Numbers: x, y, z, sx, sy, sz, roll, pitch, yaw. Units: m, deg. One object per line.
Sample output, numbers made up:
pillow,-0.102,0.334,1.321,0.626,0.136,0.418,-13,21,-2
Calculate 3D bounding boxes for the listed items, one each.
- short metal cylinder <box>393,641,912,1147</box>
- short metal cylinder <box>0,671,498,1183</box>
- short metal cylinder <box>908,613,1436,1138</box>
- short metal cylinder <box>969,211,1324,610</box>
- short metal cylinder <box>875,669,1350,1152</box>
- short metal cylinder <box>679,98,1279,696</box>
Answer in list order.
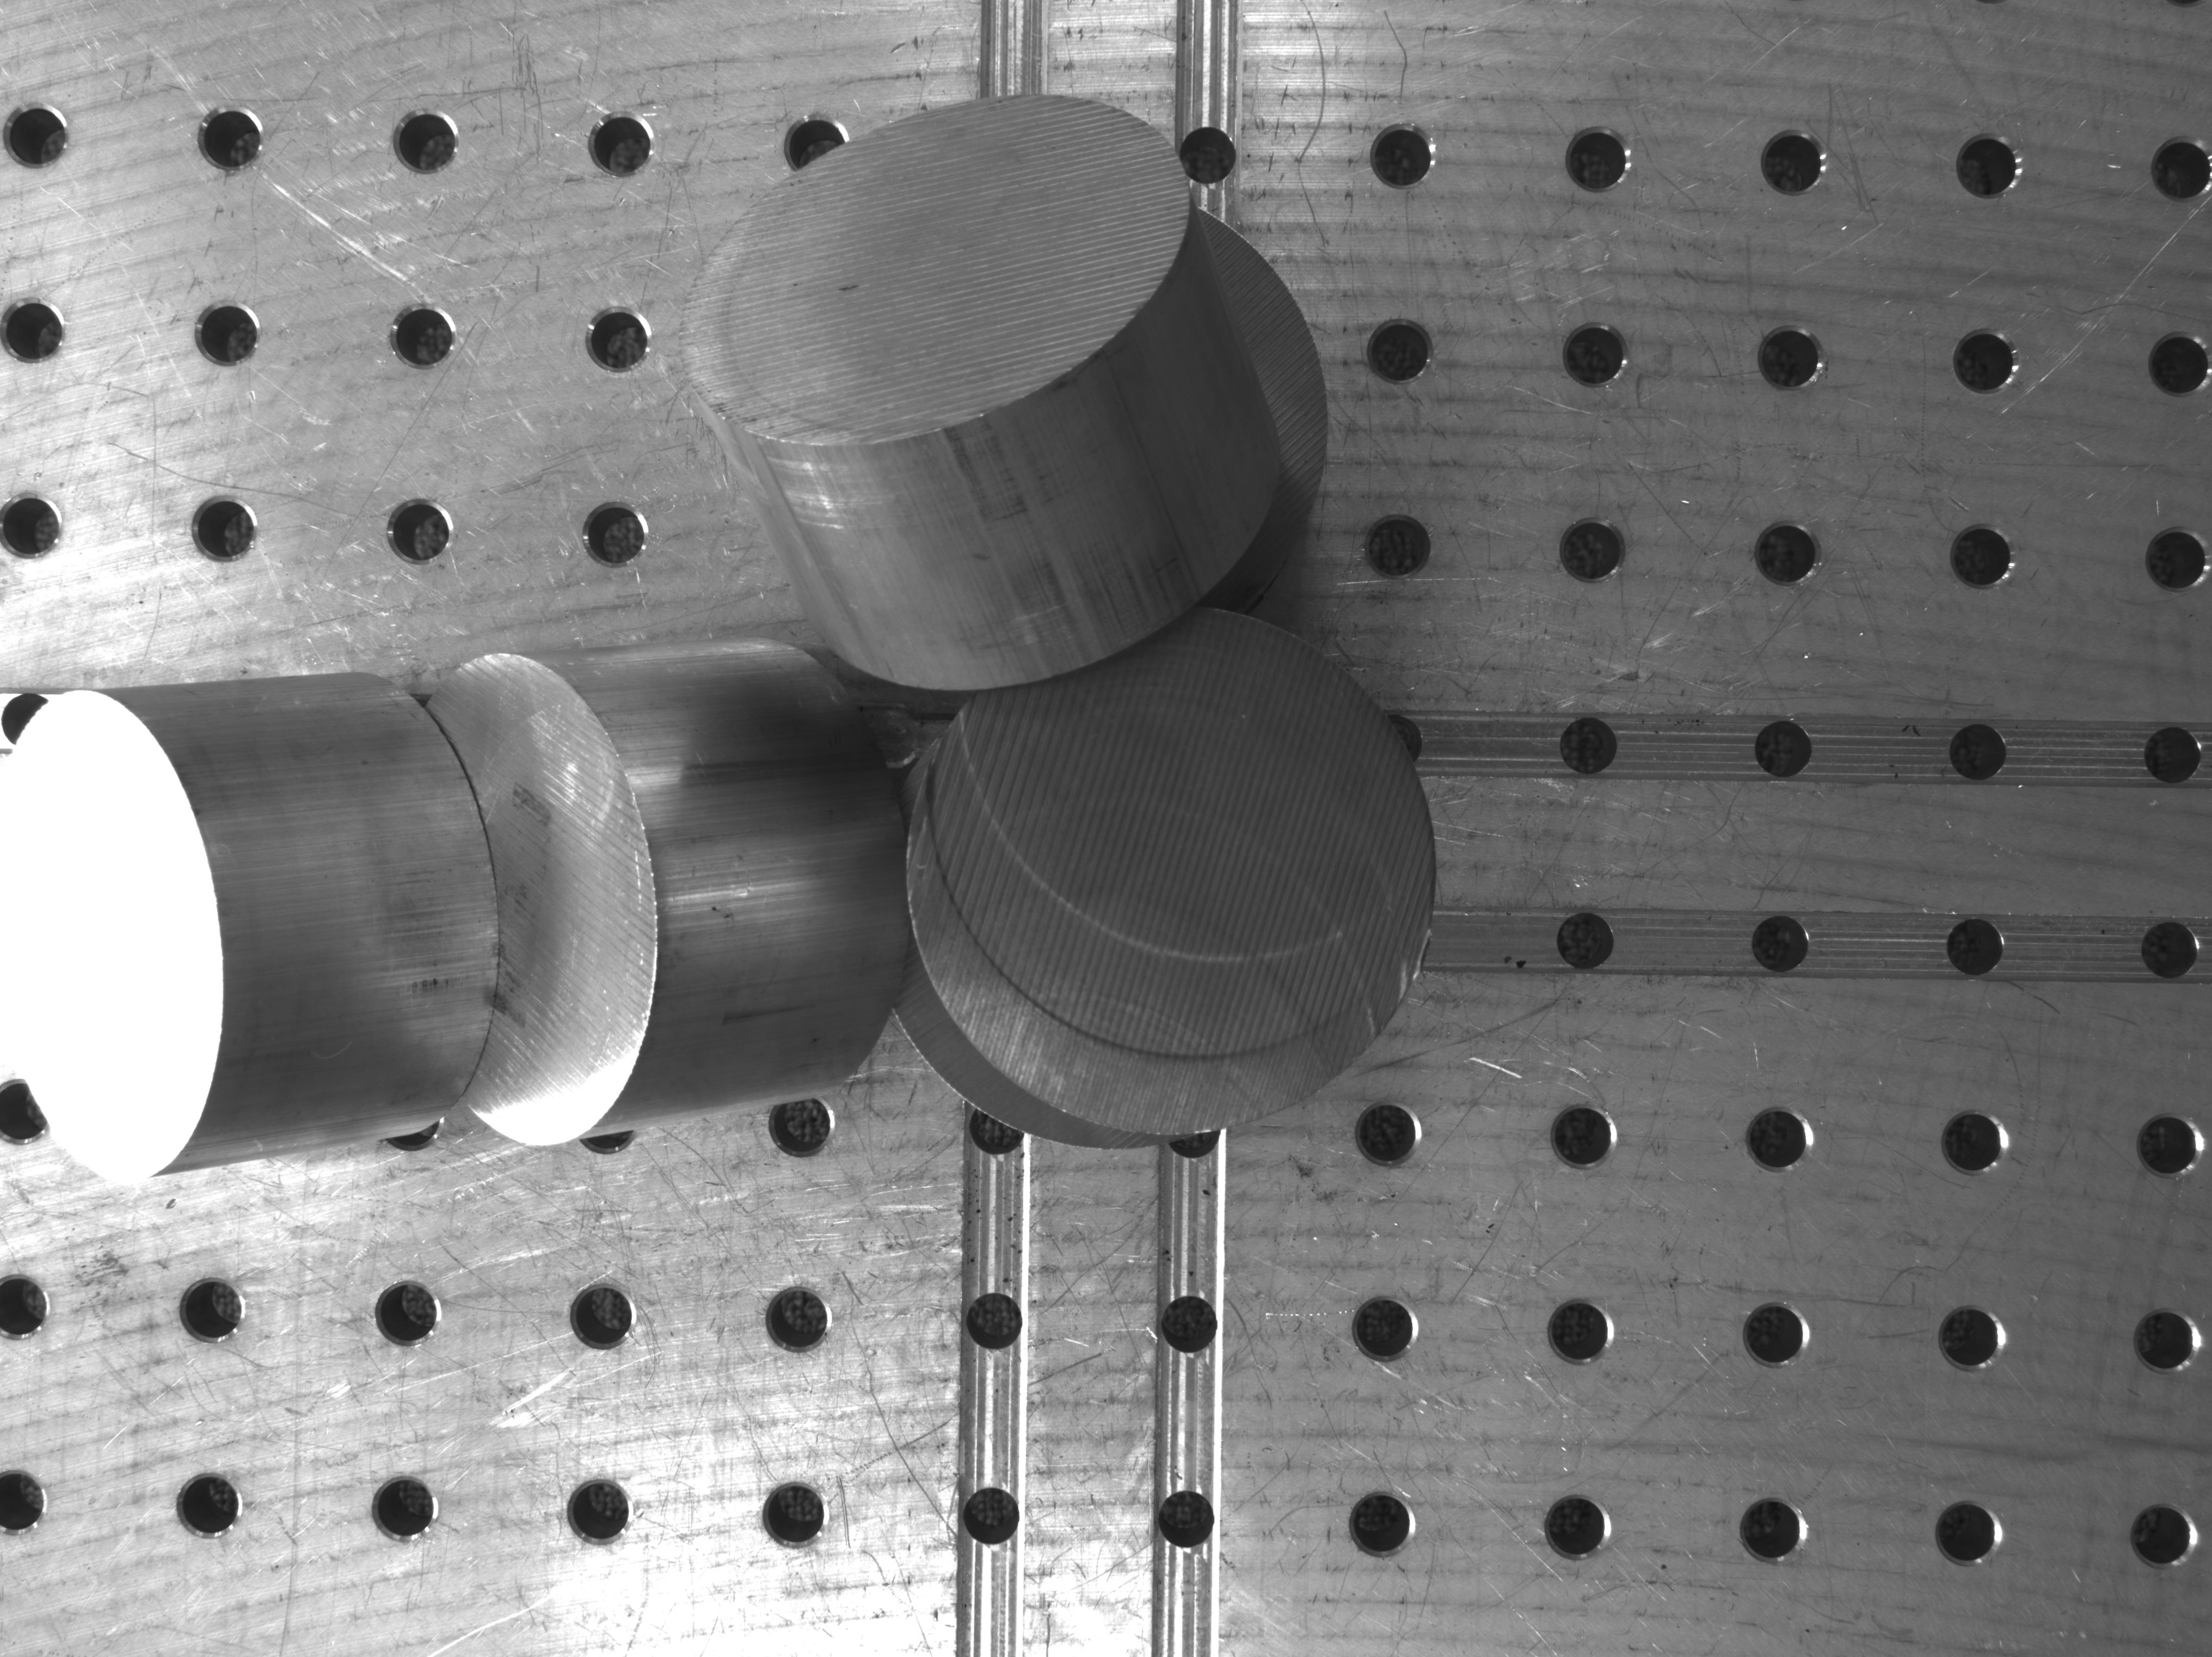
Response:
short metal cylinder,-0.077,0.010,0.613,0.050,0.080,0.080,-7,90,-41
short metal cylinder,-0.145,0.015,0.614,0.050,0.080,0.080,-7,90,-42
short metal cylinder,0.010,0.007,0.584,0.080,0.050,0.080,0,90,0
short metal cylinder,-0.004,-0.067,0.635,0.080,0.050,0.080,0,90,0
short metal cylinder,0.001,0.014,0.635,0.080,0.050,0.080,0,90,0
short metal cylinder,-0.019,-0.067,0.564,0.080,0.080,0.050,-24,133,0
